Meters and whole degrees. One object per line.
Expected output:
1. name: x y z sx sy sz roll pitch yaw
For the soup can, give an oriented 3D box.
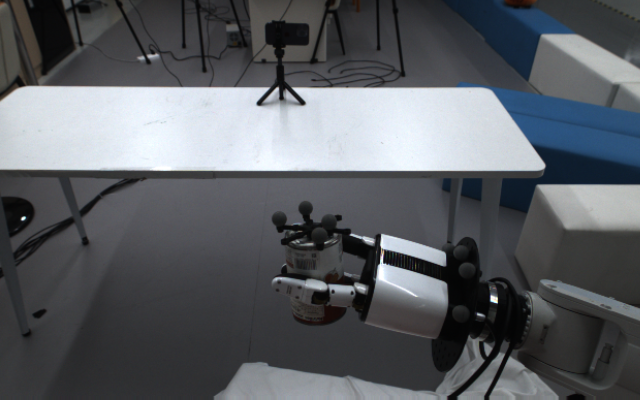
1. soup can: -0.002 0.085 0.566 0.067 0.101 0.067 -4 21 2
